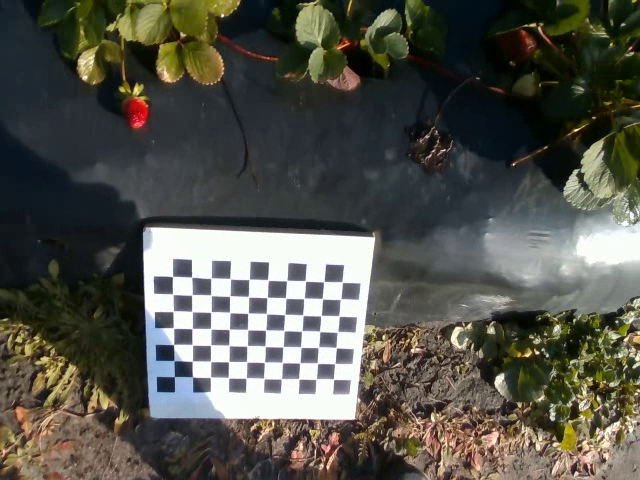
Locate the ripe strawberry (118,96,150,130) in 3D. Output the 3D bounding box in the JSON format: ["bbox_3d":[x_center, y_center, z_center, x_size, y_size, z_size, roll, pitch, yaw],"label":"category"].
[{"bbox_3d":[-0.184,-0.118,0.579,0.028,0.041,0.031,-22,-37,4],"label":"ripe strawberry"}]
